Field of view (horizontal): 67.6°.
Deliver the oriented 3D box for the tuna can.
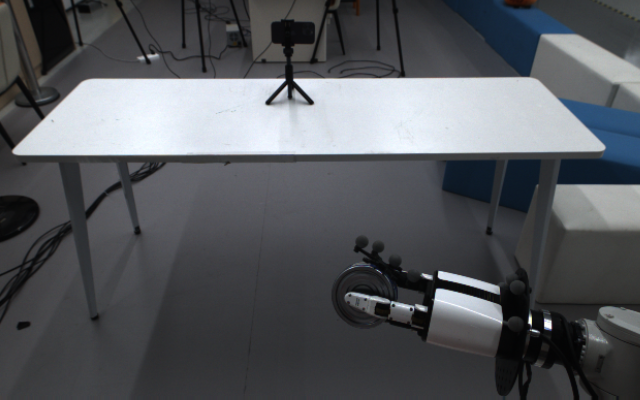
[{"bbox_3d":[0.063,0.132,0.643,0.085,0.085,0.034,12,4,15],"label":"tuna can"}]
